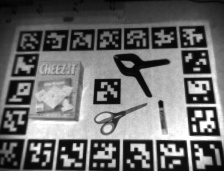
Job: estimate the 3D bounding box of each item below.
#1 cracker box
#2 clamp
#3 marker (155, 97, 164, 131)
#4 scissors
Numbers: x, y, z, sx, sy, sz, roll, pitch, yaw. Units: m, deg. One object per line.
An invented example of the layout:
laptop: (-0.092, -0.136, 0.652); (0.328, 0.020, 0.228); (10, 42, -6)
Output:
cracker box: (-0.207, 0.014, 0.793); (0.164, 0.072, 0.213); (1, 70, 6)
clamp: (0.081, -0.079, 0.833); (0.201, 0.037, 0.165); (29, 74, 14)
marker: (0.166, 0.098, 0.753); (0.019, 0.020, 0.120); (-4, 69, 5)
scissors: (0.025, 0.096, 0.768); (0.203, 0.016, 0.087); (-27, 68, -7)
